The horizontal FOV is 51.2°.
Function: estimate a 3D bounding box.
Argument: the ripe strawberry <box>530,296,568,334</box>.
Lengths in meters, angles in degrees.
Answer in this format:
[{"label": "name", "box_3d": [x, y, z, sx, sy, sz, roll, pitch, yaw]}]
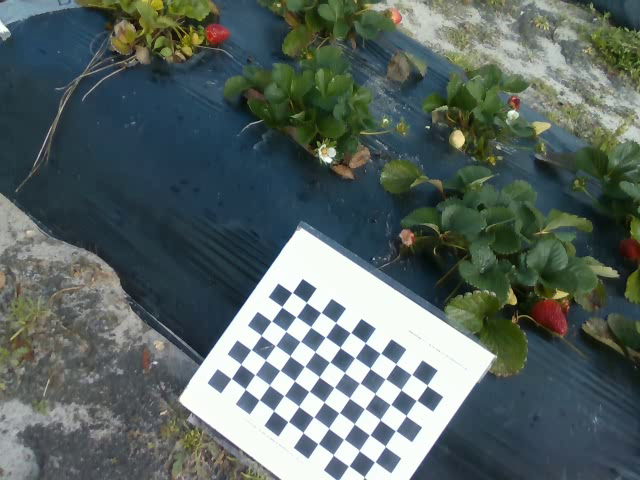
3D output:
[{"label": "ripe strawberry", "box_3d": [0.286, 0.091, 0.814, 0.051, 0.064, 0.043, -23, -13, 2]}]
